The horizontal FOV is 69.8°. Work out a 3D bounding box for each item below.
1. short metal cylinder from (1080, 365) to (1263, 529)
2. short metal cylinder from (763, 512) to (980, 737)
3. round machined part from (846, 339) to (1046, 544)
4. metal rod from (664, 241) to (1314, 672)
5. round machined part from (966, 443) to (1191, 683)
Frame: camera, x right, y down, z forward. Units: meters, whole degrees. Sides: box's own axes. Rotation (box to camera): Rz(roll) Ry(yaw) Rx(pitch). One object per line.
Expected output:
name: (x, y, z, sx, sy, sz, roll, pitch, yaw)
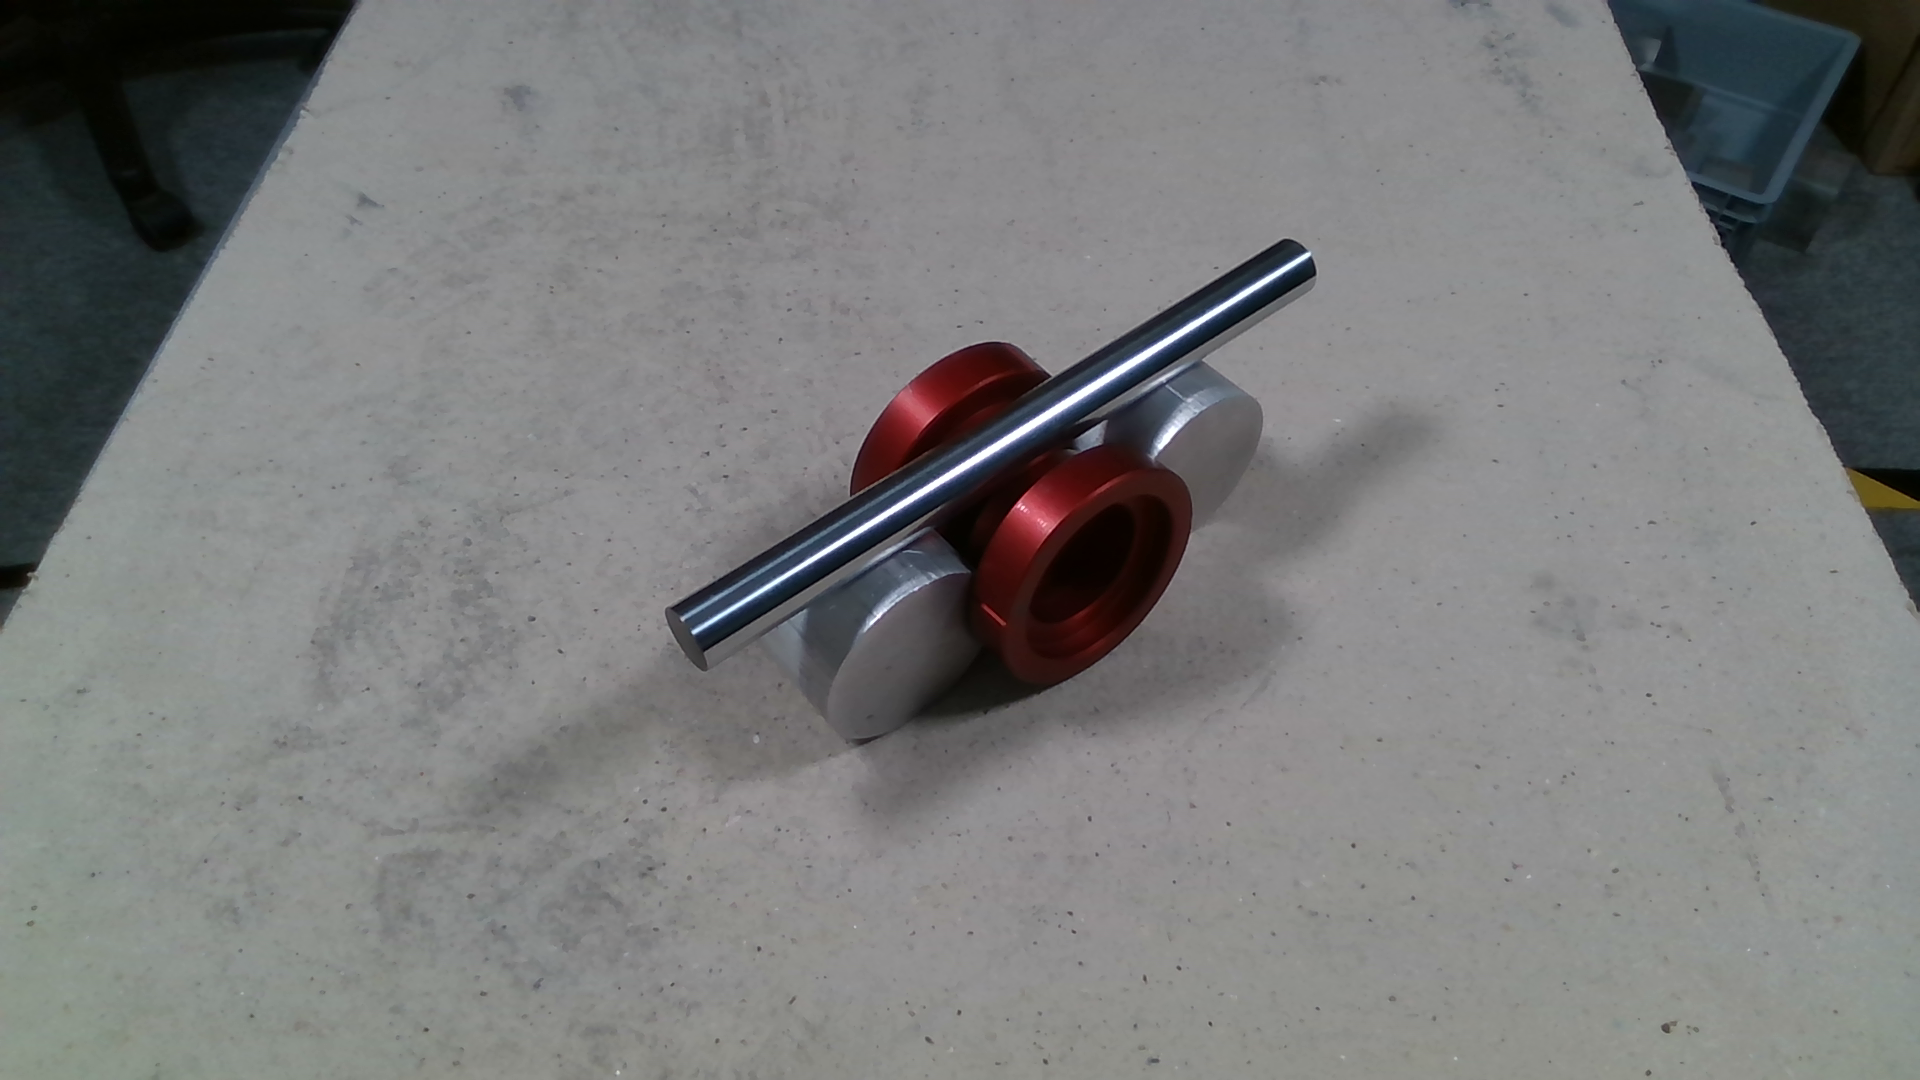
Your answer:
short metal cylinder: (0.082, -0.042, 0.586, 0.080, 0.080, 0.050, -32, 57, -24)
short metal cylinder: (-0.033, 0.029, 0.527, 0.080, 0.080, 0.050, -32, 57, -24)
round machined part: (0.005, -0.030, 0.563, 0.098, 0.098, 0.042, -32, 61, -24)
metal rod: (0.024, -0.041, 0.517, 0.300, 0.025, 0.025, -33, 57, -24)
round machined part: (0.041, 0.004, 0.536, 0.098, 0.098, 0.042, -32, 52, -24)
